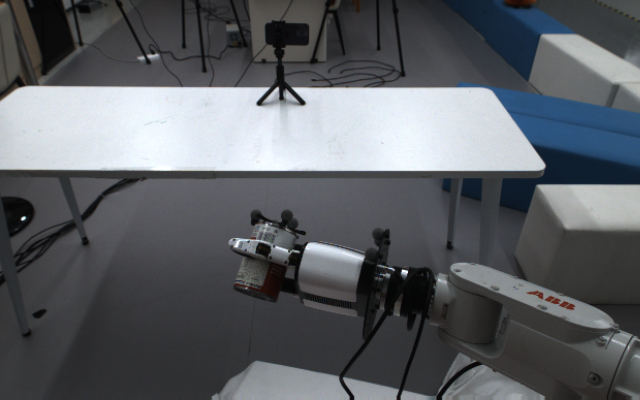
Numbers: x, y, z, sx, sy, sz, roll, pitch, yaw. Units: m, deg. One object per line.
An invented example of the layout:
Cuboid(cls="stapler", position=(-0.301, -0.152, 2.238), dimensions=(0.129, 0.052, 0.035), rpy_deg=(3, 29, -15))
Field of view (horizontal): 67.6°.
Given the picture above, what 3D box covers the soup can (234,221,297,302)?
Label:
Cuboid(cls="soup can", position=(-0.078, 0.091, 0.704), dimensions=(0.067, 0.067, 0.101), rpy_deg=(12, 70, 14))
